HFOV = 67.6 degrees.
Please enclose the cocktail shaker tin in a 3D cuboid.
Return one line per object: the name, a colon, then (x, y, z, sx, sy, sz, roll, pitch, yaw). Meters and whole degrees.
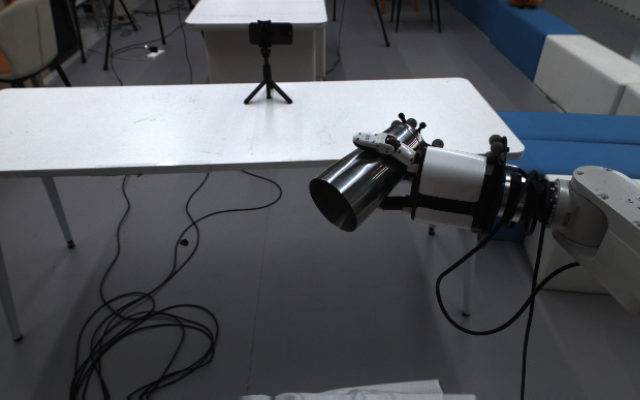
cocktail shaker tin: (0.076, -0.046, 0.706, 0.170, 0.093, 0.093, -38, 50, -24)
